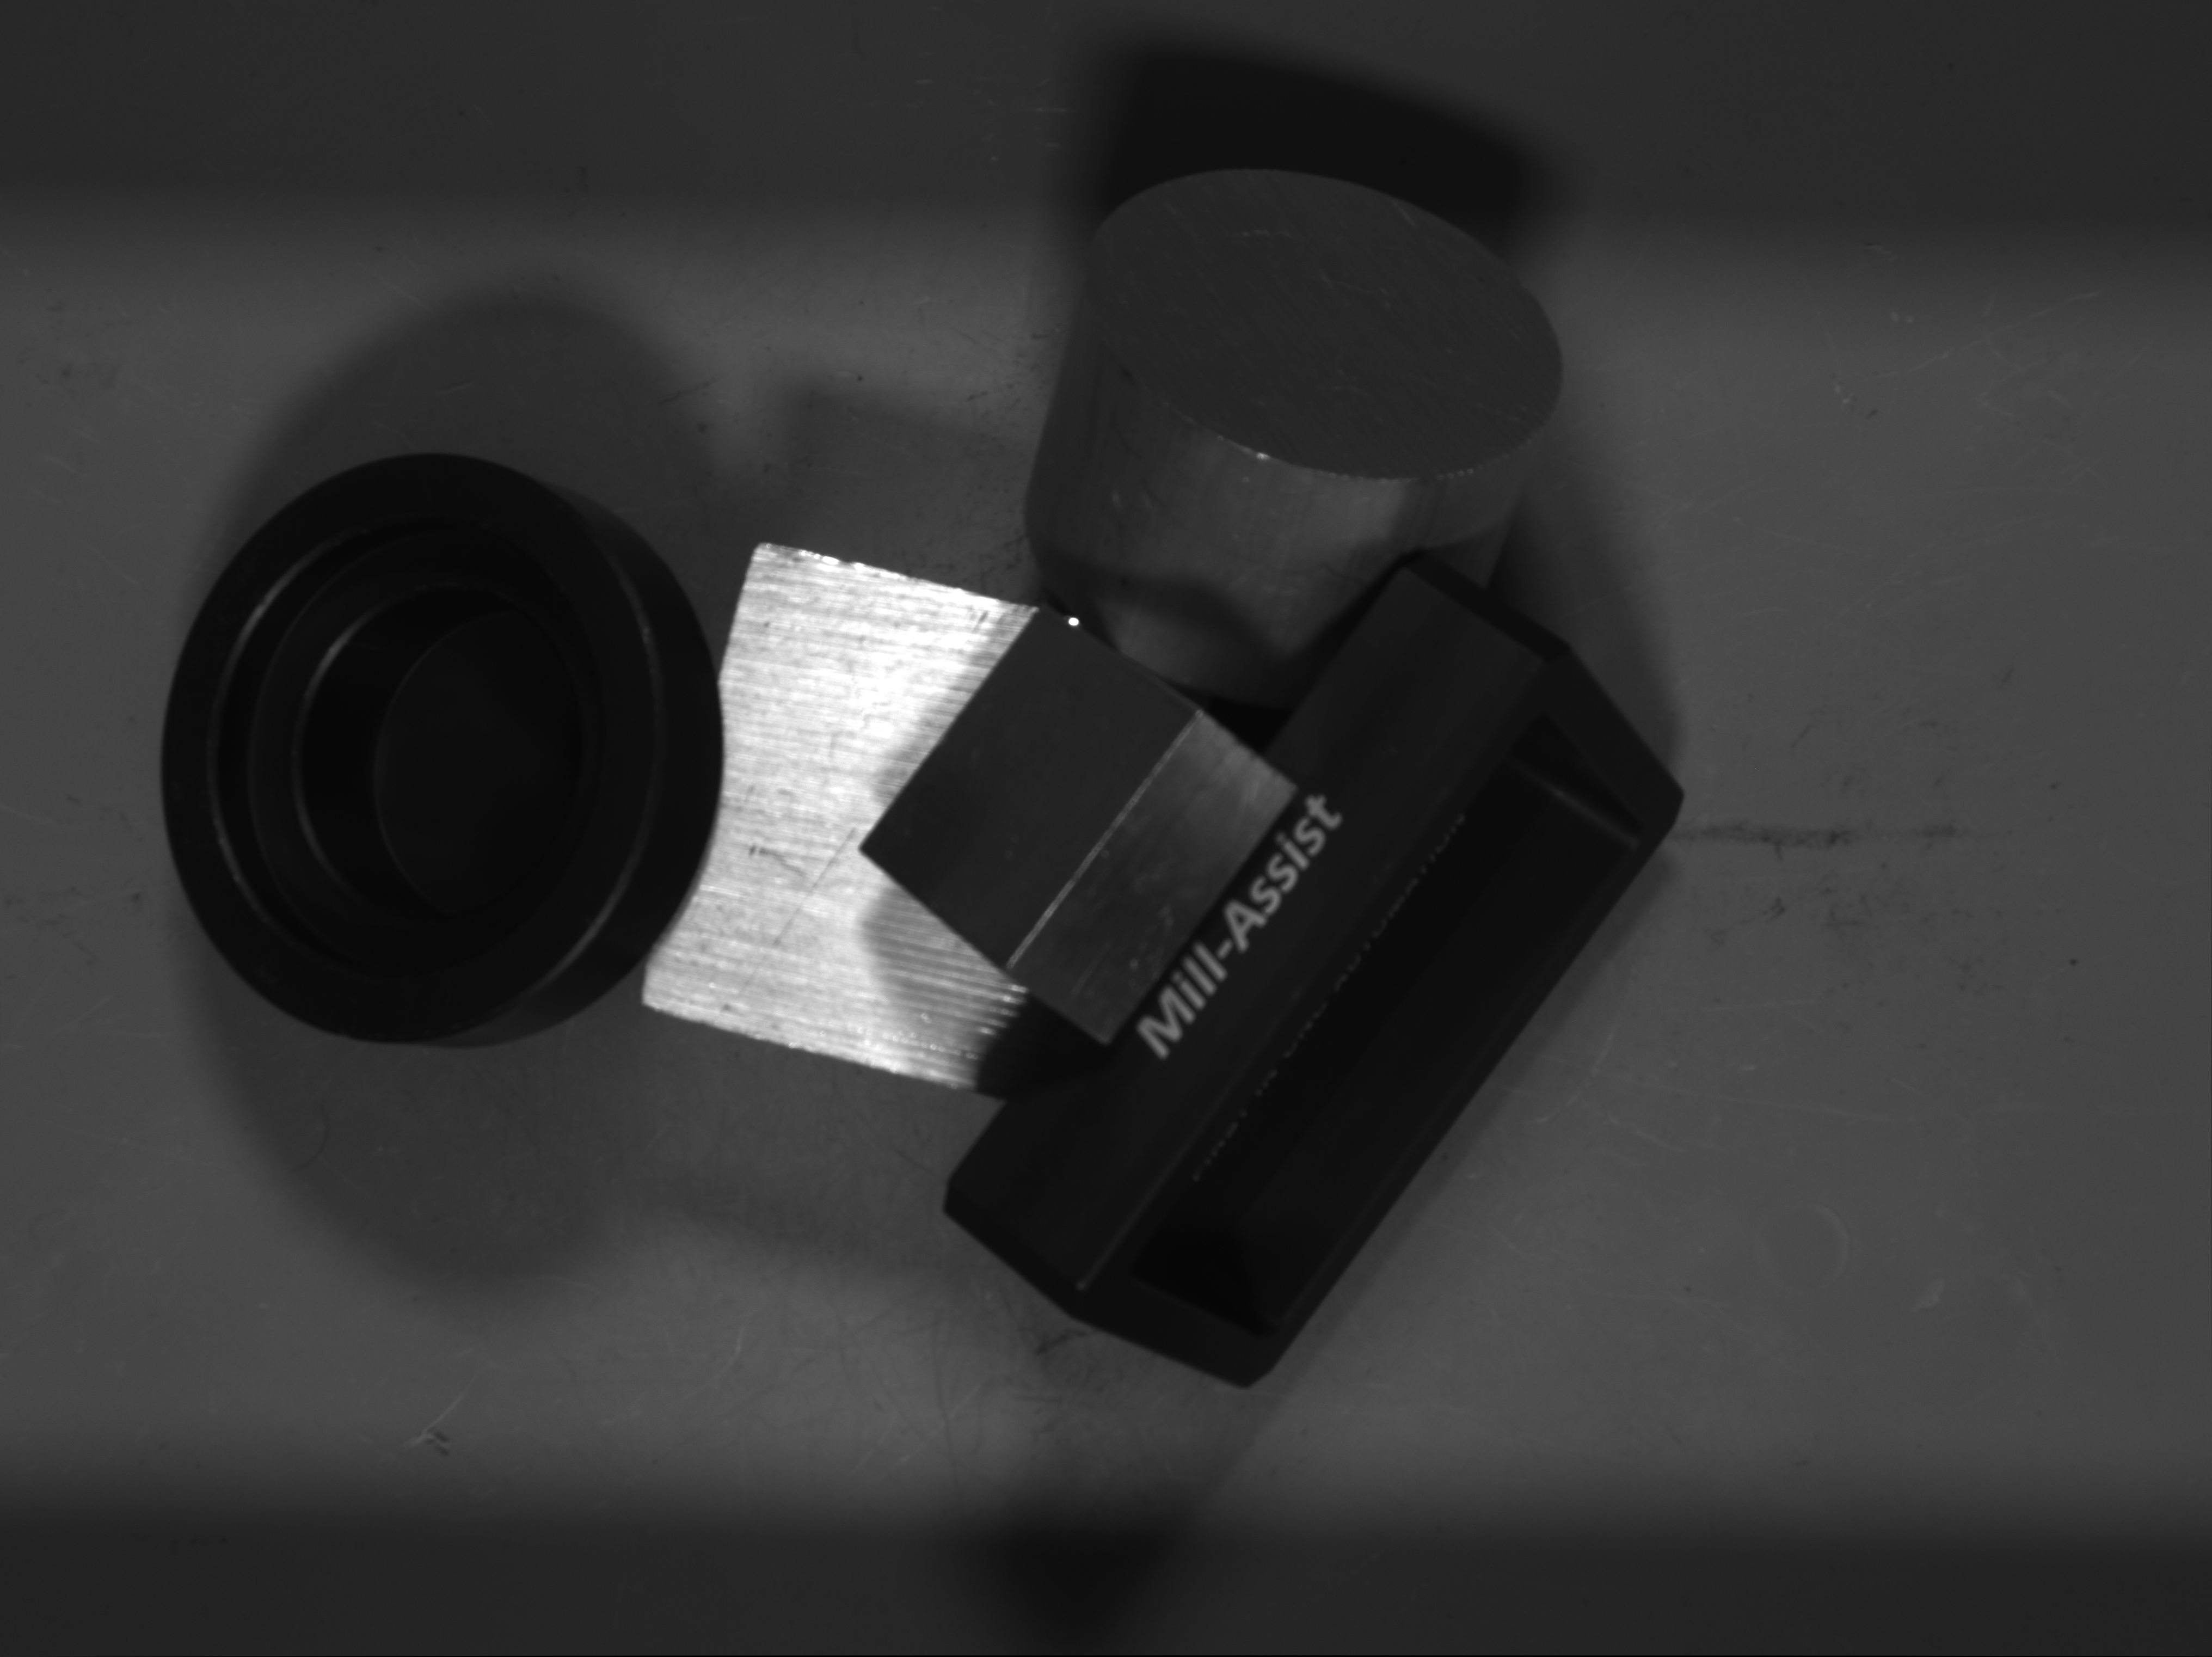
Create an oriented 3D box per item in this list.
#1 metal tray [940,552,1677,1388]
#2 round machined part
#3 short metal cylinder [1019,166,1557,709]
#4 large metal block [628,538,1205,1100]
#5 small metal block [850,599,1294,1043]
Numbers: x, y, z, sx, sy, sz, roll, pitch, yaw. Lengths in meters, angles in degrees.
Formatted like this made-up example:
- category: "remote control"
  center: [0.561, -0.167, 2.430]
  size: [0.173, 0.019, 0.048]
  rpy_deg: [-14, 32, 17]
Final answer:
- category: "metal tray"
  center: [0.037, 0.027, 0.610]
  size: [0.030, 0.090, 0.130]
  rpy_deg: [36, 89, 27]
- category: "round machined part"
  center: [-0.109, -0.012, 0.623]
  size: [0.098, 0.042, 0.098]
  rpy_deg: [-2, 84, 22]
- category: "short metal cylinder"
  center: [0.029, -0.066, 0.611]
  size: [0.080, 0.080, 0.050]
  rpy_deg: [16, 134, 0]
- category: "large metal block"
  center: [-0.030, 0.001, 0.631]
  size: [0.080, 0.050, 0.080]
  rpy_deg: [15, 90, 0]
- category: "small metal block"
  center: [-0.006, -0.002, 0.580]
  size: [0.025, 0.050, 0.050]
  rpy_deg: [37, 90, -38]
